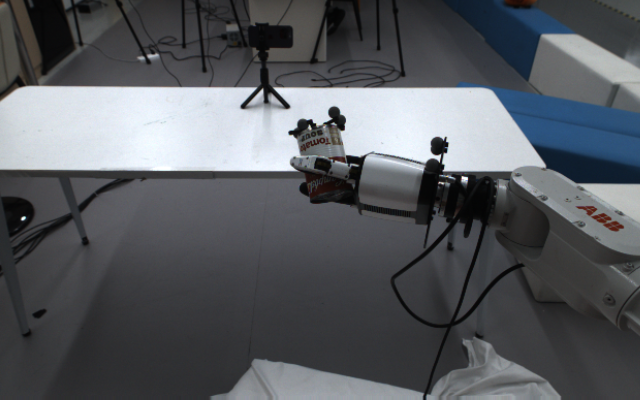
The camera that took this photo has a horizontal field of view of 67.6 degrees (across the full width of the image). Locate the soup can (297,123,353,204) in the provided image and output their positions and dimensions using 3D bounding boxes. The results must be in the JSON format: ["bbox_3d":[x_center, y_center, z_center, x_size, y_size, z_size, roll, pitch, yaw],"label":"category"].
[{"bbox_3d":[0.008,-0.052,0.717,0.067,0.067,0.101,-10,80,-16],"label":"soup can"}]
